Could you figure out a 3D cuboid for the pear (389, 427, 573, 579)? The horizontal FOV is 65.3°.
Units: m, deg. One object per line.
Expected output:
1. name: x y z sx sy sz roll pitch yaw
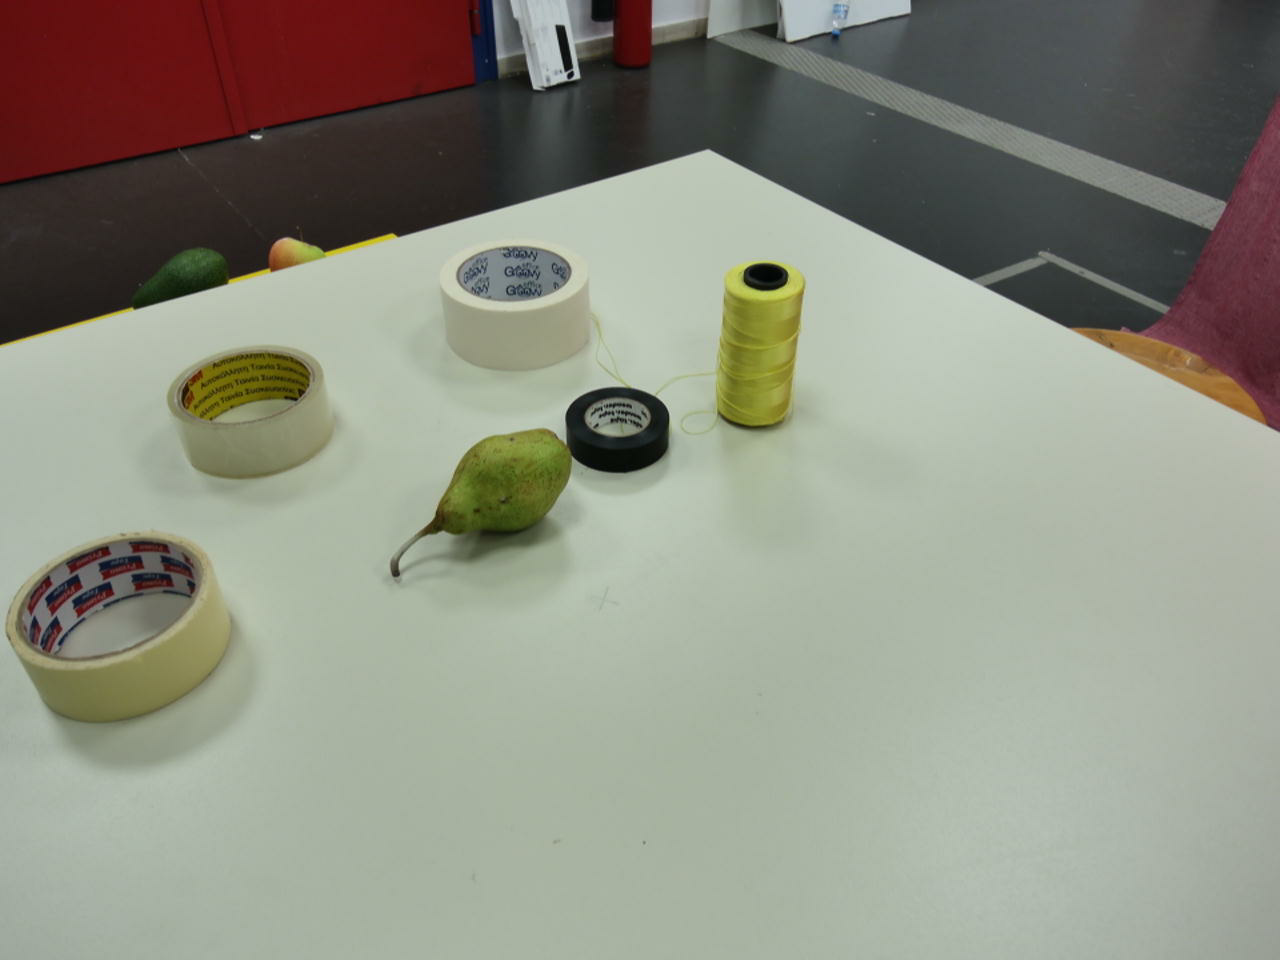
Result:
1. pear: -0.092 0.006 0.555 0.111 0.056 0.056 -14 41 -17
